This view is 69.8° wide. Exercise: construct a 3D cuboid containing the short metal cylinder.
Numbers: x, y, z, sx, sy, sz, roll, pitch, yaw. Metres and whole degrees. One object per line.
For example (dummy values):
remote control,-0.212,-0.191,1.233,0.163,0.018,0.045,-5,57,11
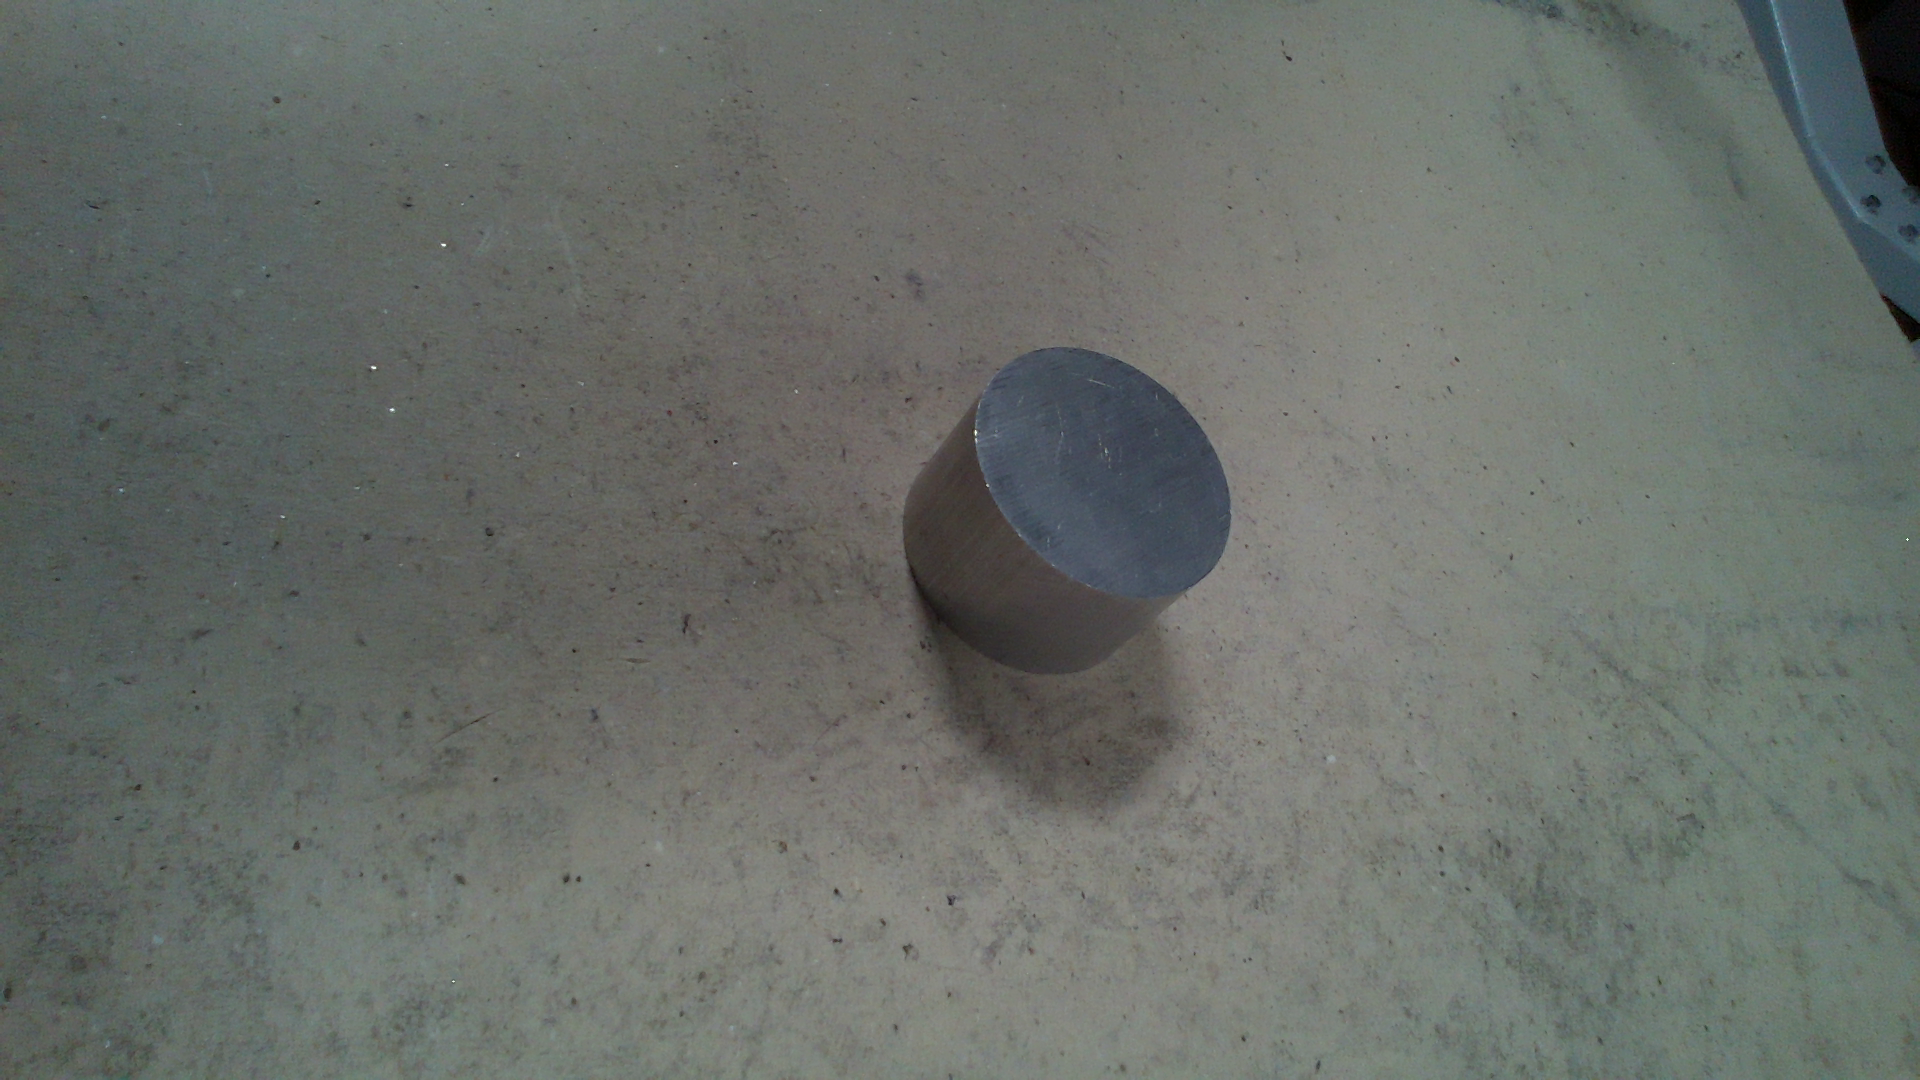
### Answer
short metal cylinder,0.030,-0.009,0.395,0.080,0.050,0.080,14,56,-21
